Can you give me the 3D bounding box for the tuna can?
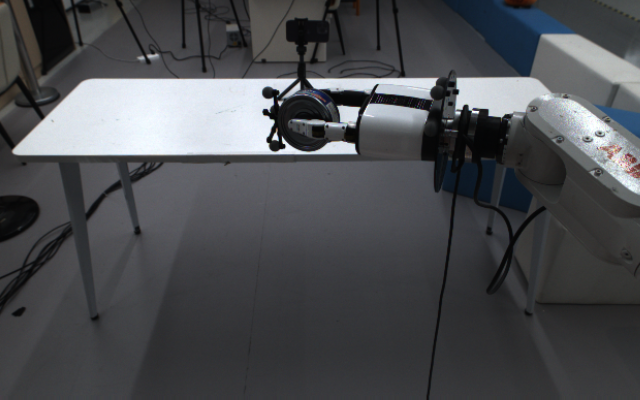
[{"bbox_3d":[-0.016,-0.116,0.693,0.085,0.085,0.034,12,28,14],"label":"tuna can"}]
